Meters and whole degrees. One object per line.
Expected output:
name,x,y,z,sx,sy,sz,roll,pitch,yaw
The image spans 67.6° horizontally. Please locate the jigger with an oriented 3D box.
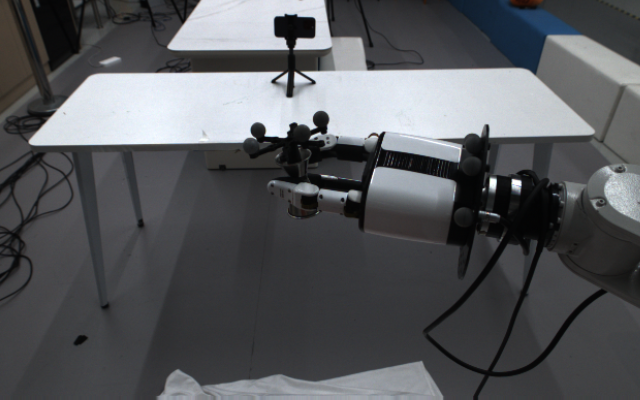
jigger,-0.024,-0.020,0.538,0.043,0.071,0.043,-10,32,6
